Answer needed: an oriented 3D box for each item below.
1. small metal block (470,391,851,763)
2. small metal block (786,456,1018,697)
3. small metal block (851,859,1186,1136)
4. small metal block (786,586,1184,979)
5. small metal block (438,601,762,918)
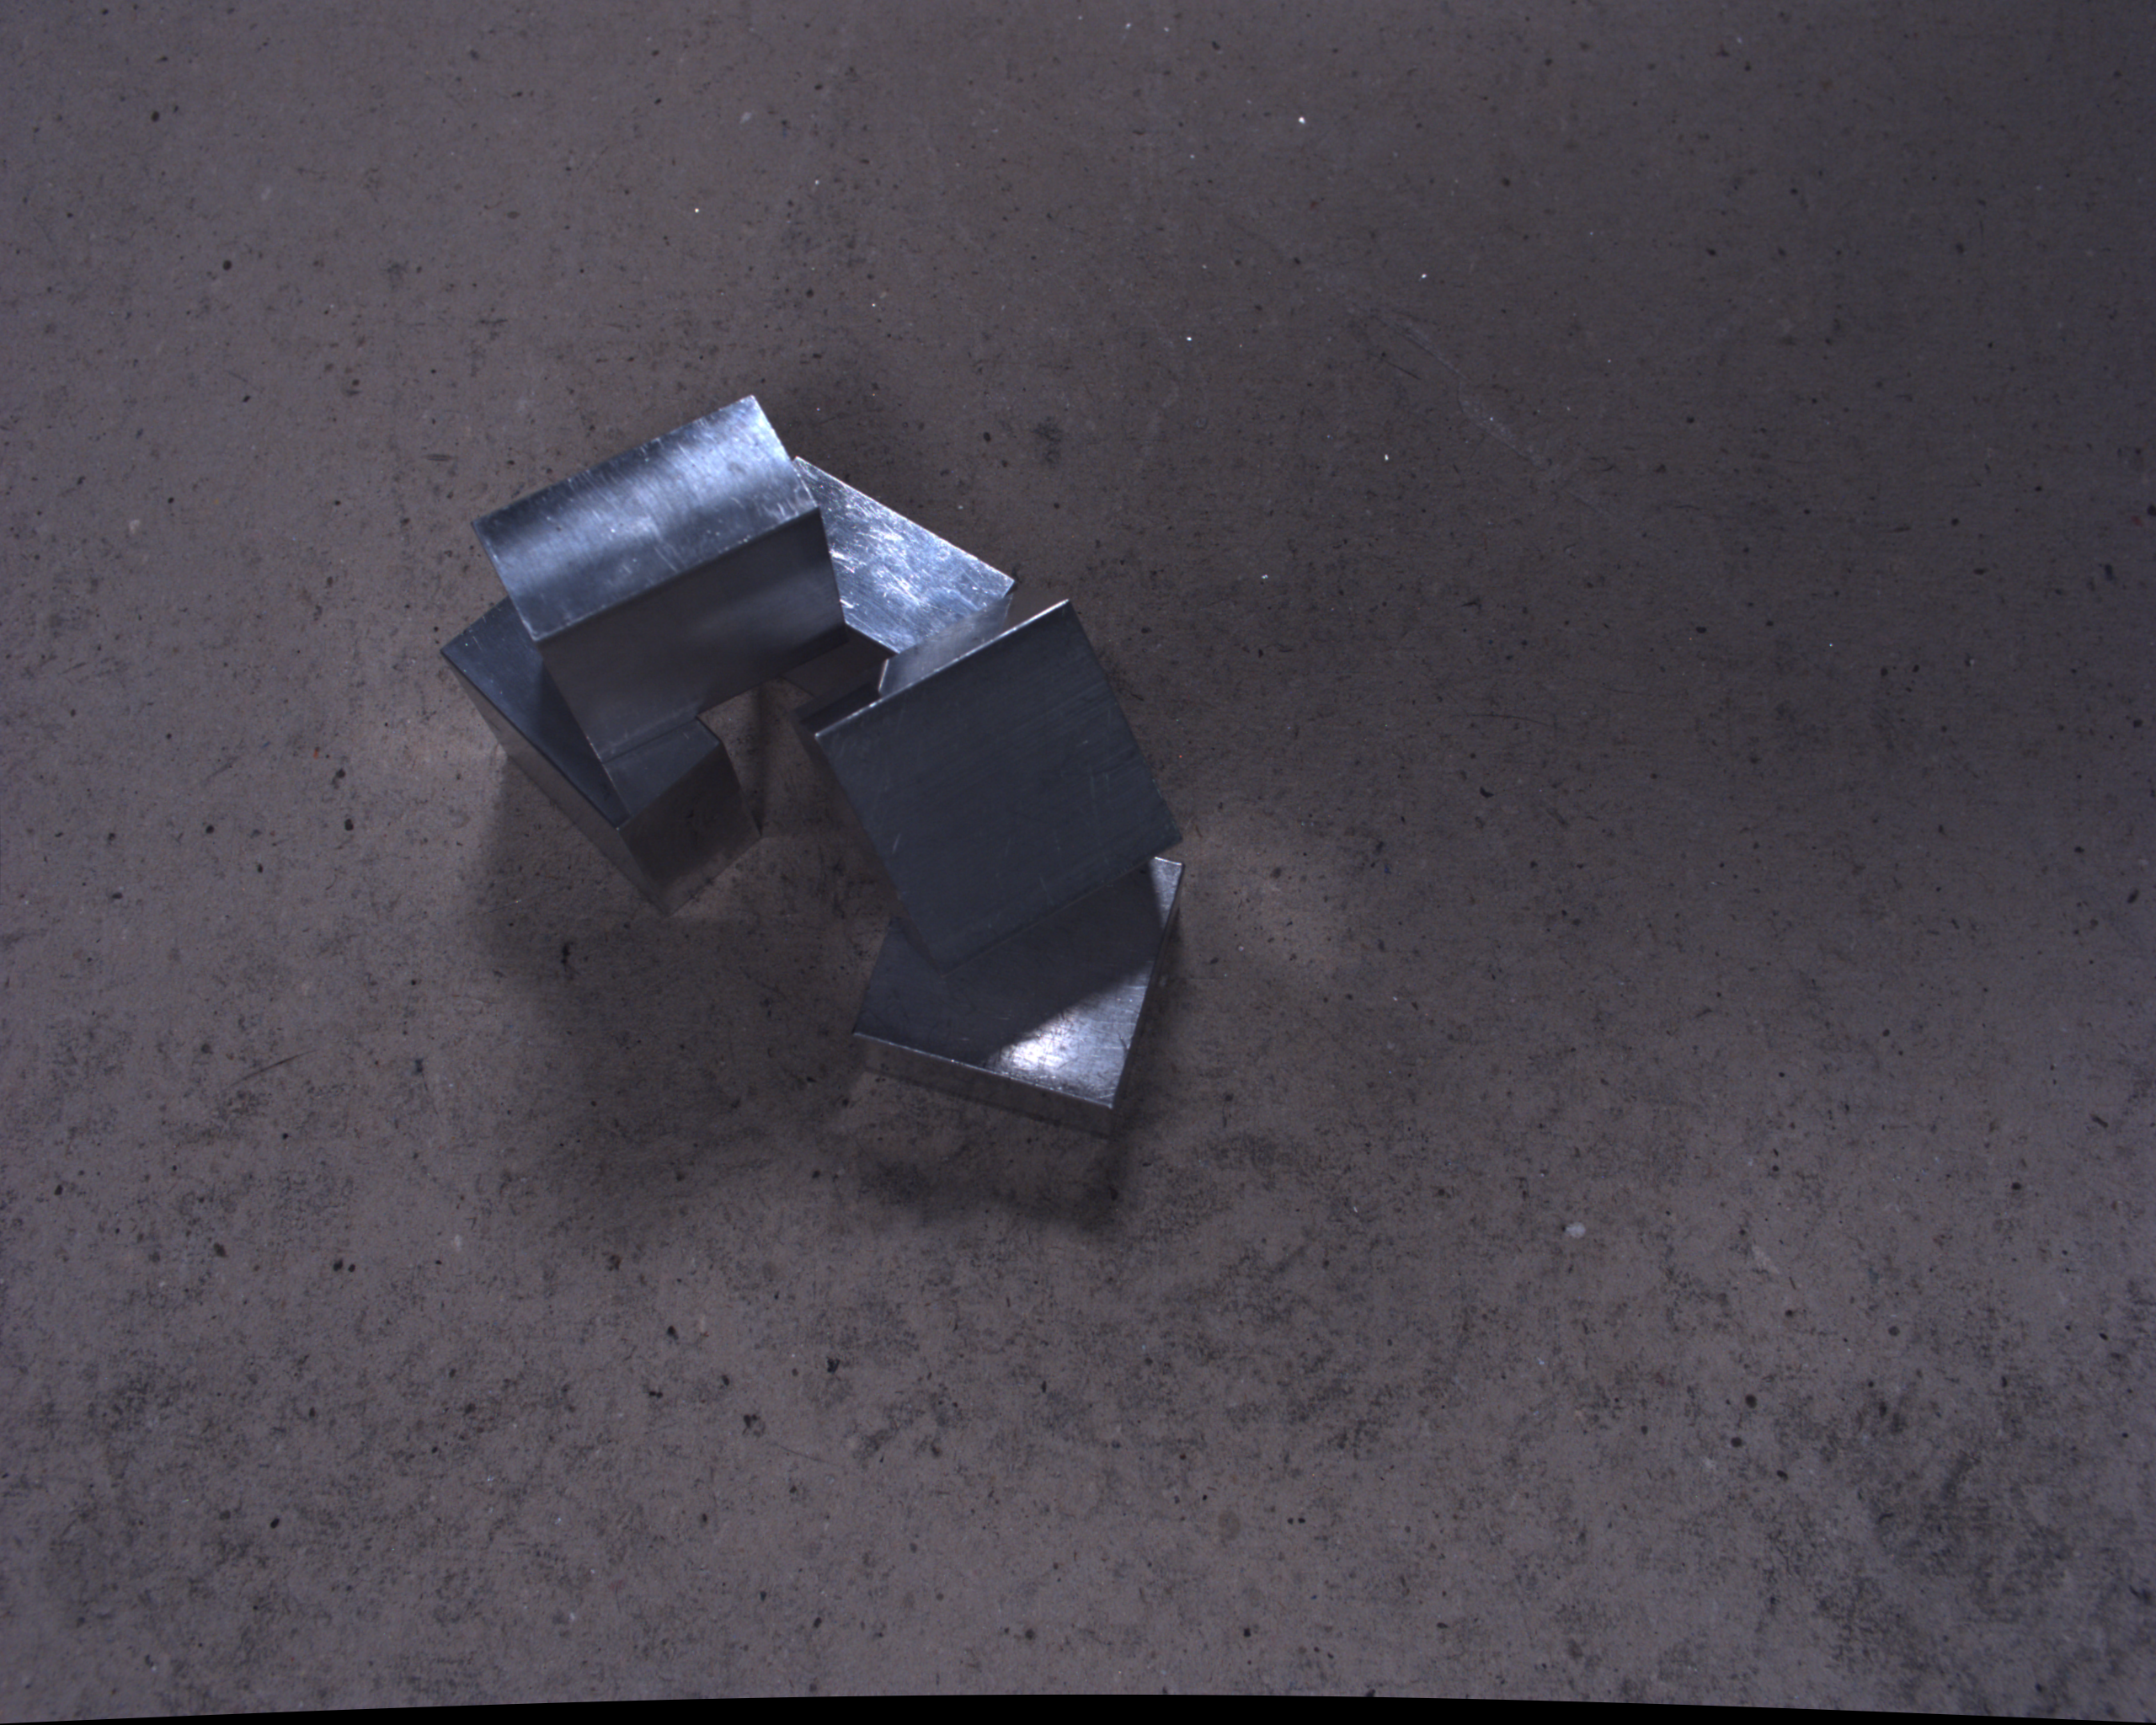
[{"bbox_3d":[-0.070,-0.048,0.360,0.050,0.050,0.025,-28,73,-10],"label":"small metal block"},{"bbox_3d":[-0.039,-0.047,0.413,0.050,0.050,0.025,31,73,10],"label":"small metal block"},{"bbox_3d":[-0.011,0.020,0.402,0.050,0.025,0.050,15,71,5],"label":"small metal block"},{"bbox_3d":[-0.017,-0.015,0.375,0.050,0.025,0.050,-30,110,-11],"label":"small metal block"},{"bbox_3d":[-0.091,-0.022,0.403,0.025,0.050,0.050,-43,76,-14],"label":"small metal block"}]
